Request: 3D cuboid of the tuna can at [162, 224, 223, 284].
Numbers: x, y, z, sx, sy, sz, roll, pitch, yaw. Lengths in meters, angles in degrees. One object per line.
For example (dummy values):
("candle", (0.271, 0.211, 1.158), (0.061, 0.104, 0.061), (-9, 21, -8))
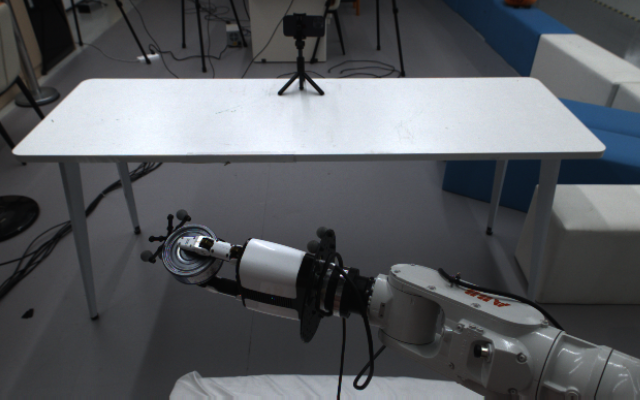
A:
("tuna can", (-0.184, 0.081, 0.715), (0.085, 0.034, 0.085), (-1, 63, 1))
